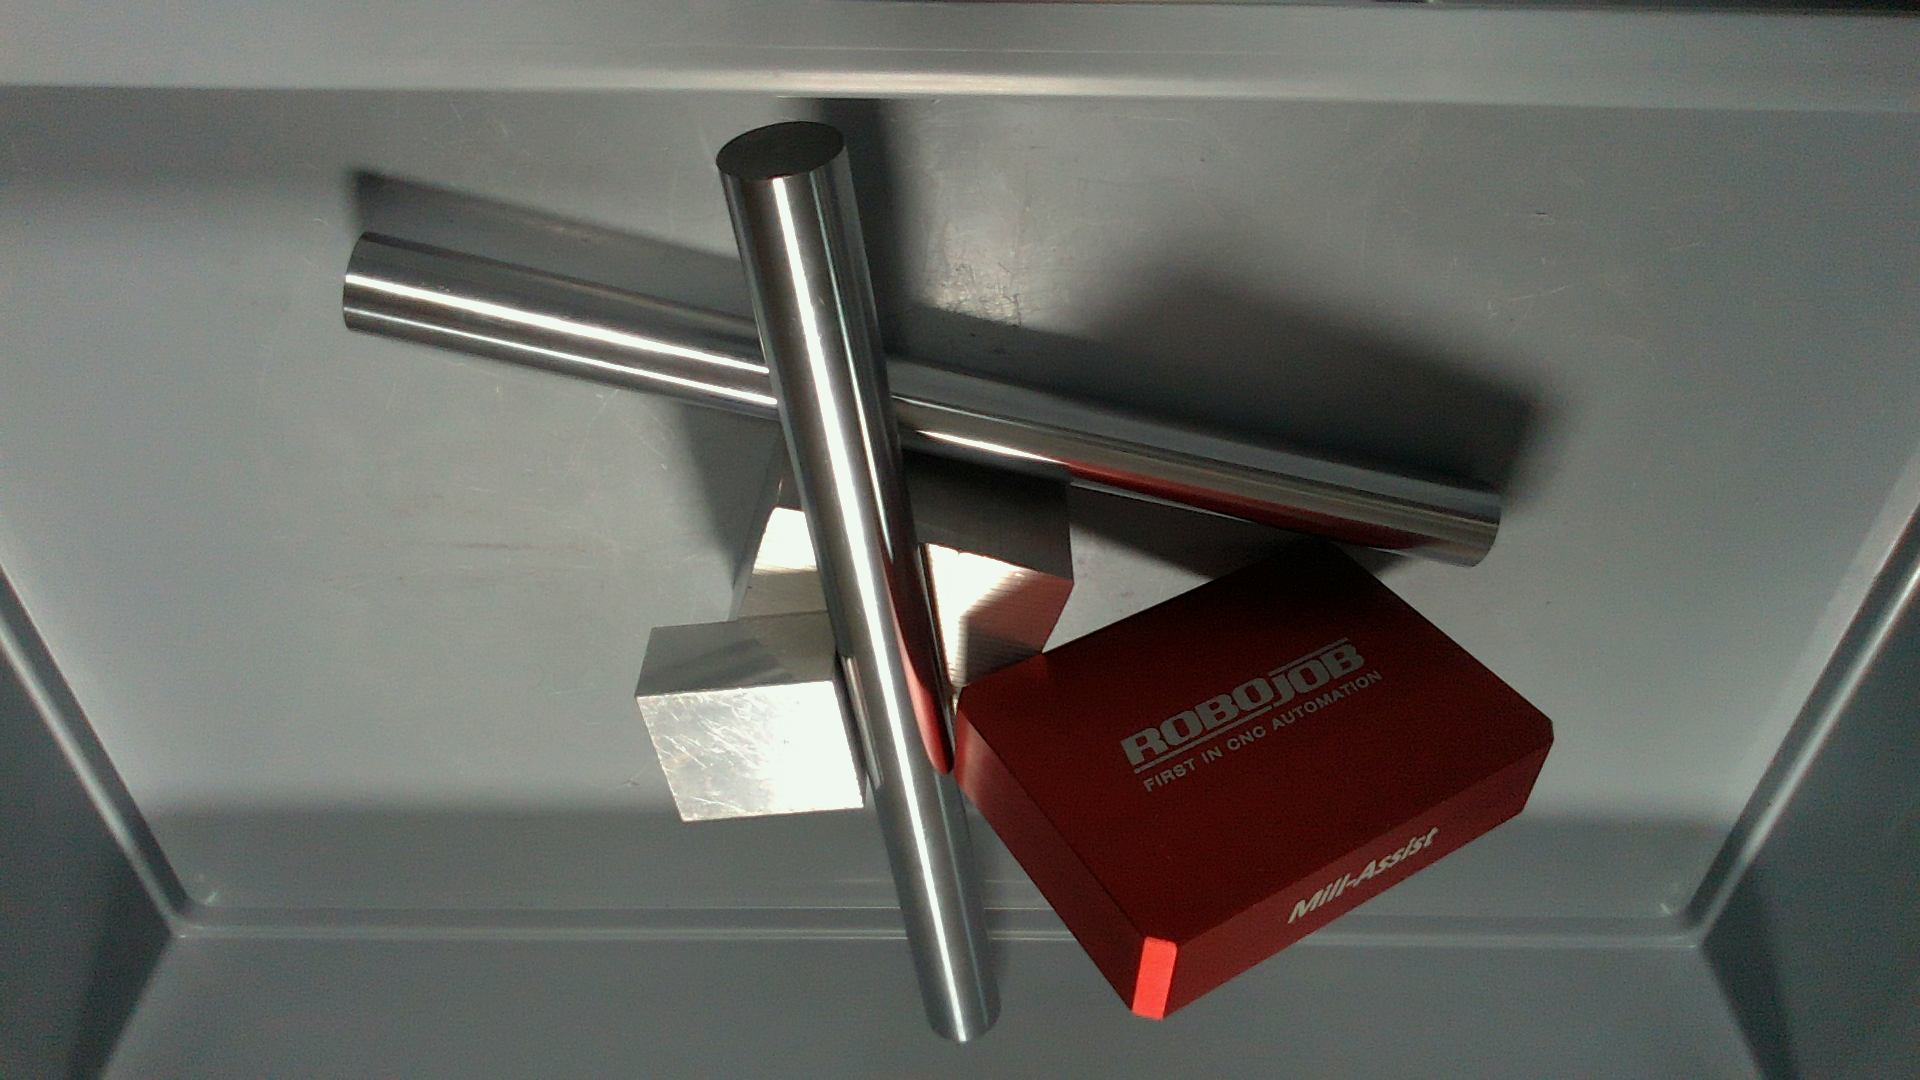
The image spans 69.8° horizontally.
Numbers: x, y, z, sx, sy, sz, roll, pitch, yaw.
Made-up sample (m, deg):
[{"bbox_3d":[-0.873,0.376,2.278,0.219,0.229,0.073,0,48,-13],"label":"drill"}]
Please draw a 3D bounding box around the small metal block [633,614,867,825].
[{"bbox_3d":[-0.053,0.048,0.364,0.050,0.025,0.050,-5,129,4],"label":"small metal block"}]

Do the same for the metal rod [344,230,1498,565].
[{"bbox_3d":[-0.001,-0.034,0.361,0.300,0.025,0.025,11,129,-10],"label":"metal rod"}]

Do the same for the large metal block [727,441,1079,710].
[{"bbox_3d":[-0.020,0.014,0.385,0.080,0.050,0.080,14,129,-12],"label":"large metal block"}]

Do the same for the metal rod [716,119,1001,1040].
[{"bbox_3d":[-0.016,0.039,0.357,0.025,0.025,0.300,-5,130,4],"label":"metal rod"}]

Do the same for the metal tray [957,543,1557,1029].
[{"bbox_3d":[0.076,0.057,0.360,0.130,0.090,0.030,-21,136,-24],"label":"metal tray"}]
